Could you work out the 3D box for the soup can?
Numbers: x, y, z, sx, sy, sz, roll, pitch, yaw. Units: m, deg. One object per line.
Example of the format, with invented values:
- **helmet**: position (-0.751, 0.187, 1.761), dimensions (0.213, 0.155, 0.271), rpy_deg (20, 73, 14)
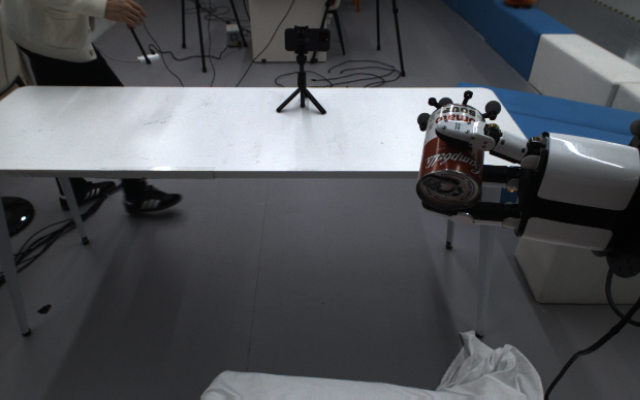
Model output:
- **soup can**: position (0.148, -0.050, 0.538), dimensions (0.067, 0.067, 0.101), rpy_deg (9, 56, 10)
